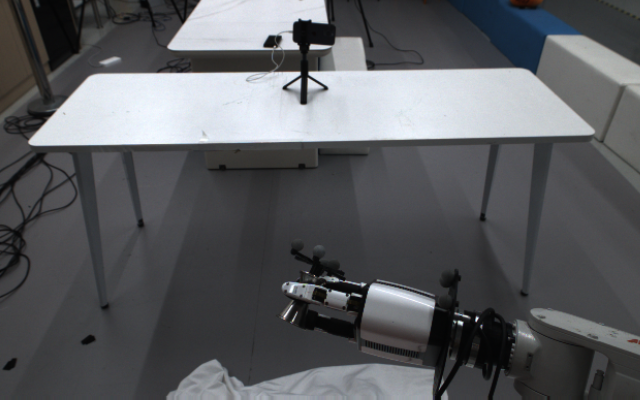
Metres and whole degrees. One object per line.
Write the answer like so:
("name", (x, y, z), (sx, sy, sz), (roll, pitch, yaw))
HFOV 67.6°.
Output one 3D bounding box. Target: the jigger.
("jigger", (-0.025, 0.130, 0.641), (0.043, 0.043, 0.071), (20, 74, 24))
